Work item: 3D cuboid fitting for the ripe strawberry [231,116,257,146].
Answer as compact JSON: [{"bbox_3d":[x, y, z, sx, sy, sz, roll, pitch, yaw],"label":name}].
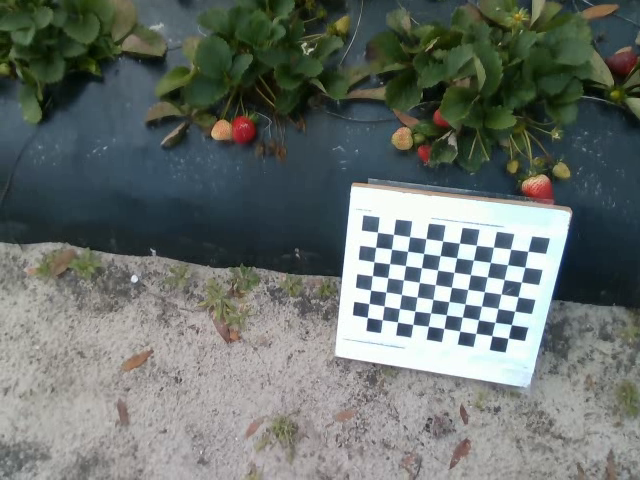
[{"bbox_3d":[-0.103,-0.144,0.835,0.034,0.042,0.033,37,-38,-4],"label":"ripe strawberry"}]
